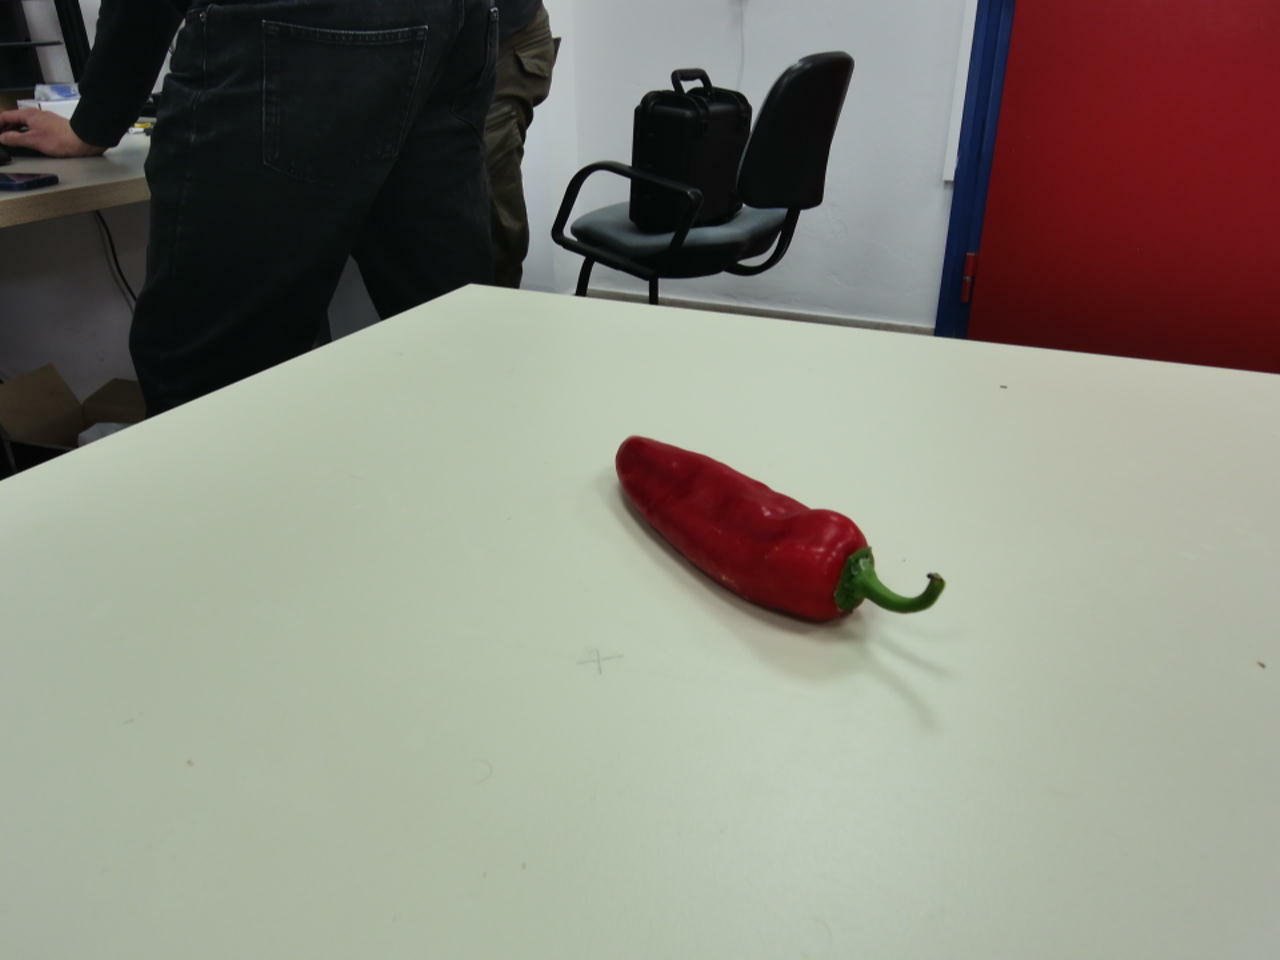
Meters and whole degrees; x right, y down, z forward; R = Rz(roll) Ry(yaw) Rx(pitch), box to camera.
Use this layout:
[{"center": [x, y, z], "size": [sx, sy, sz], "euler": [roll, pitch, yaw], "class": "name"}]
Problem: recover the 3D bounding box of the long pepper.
[{"center": [0.042, 0.017, 0.438], "size": [0.050, 0.043, 0.211], "euler": [-14, 27, -29], "class": "long pepper"}]
